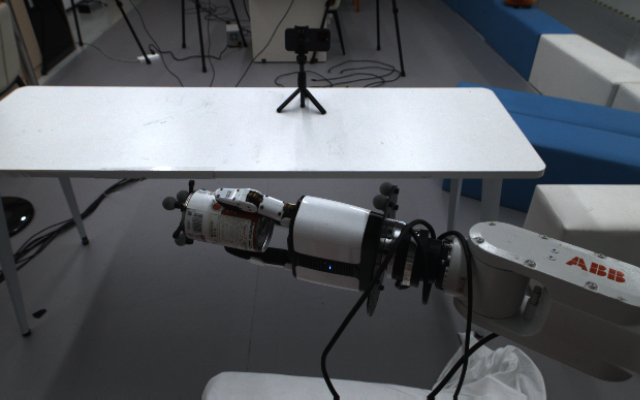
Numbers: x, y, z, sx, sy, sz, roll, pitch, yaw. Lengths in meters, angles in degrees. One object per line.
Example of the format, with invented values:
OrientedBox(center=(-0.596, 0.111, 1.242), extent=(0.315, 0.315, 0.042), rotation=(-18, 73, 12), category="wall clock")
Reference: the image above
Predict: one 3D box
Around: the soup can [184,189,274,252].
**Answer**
OrientedBox(center=(-0.114, 0.028, 0.622), extent=(0.101, 0.067, 0.067), rotation=(10, 35, 10), category="soup can")
